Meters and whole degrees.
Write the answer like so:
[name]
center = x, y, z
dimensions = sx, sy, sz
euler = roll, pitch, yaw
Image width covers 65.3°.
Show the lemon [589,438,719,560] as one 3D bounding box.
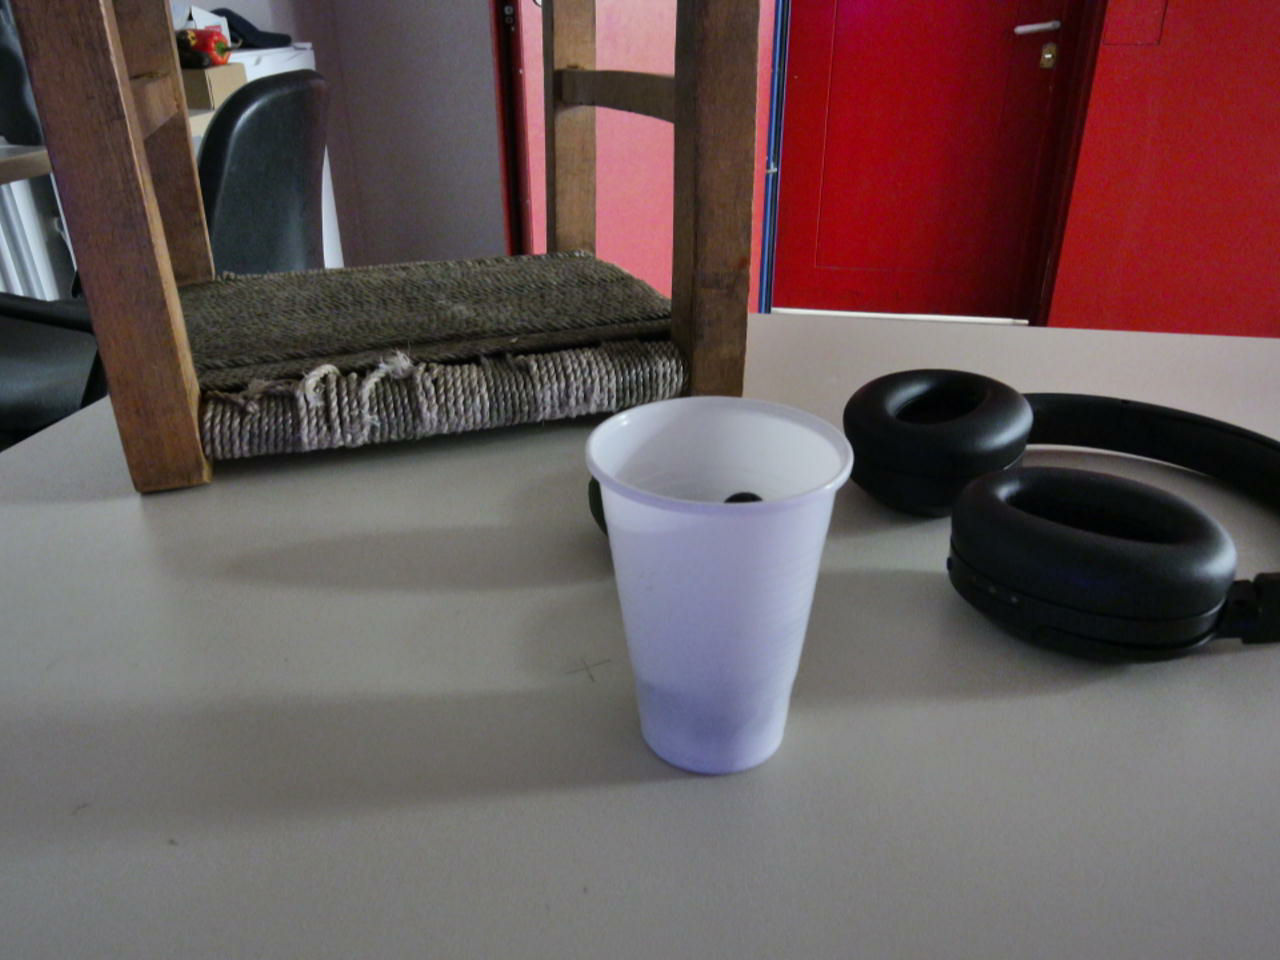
[lemon]
center = 0.006, 0.007, 0.437
dimensions = 0.057, 0.051, 0.054
euler = 2, 25, 8
